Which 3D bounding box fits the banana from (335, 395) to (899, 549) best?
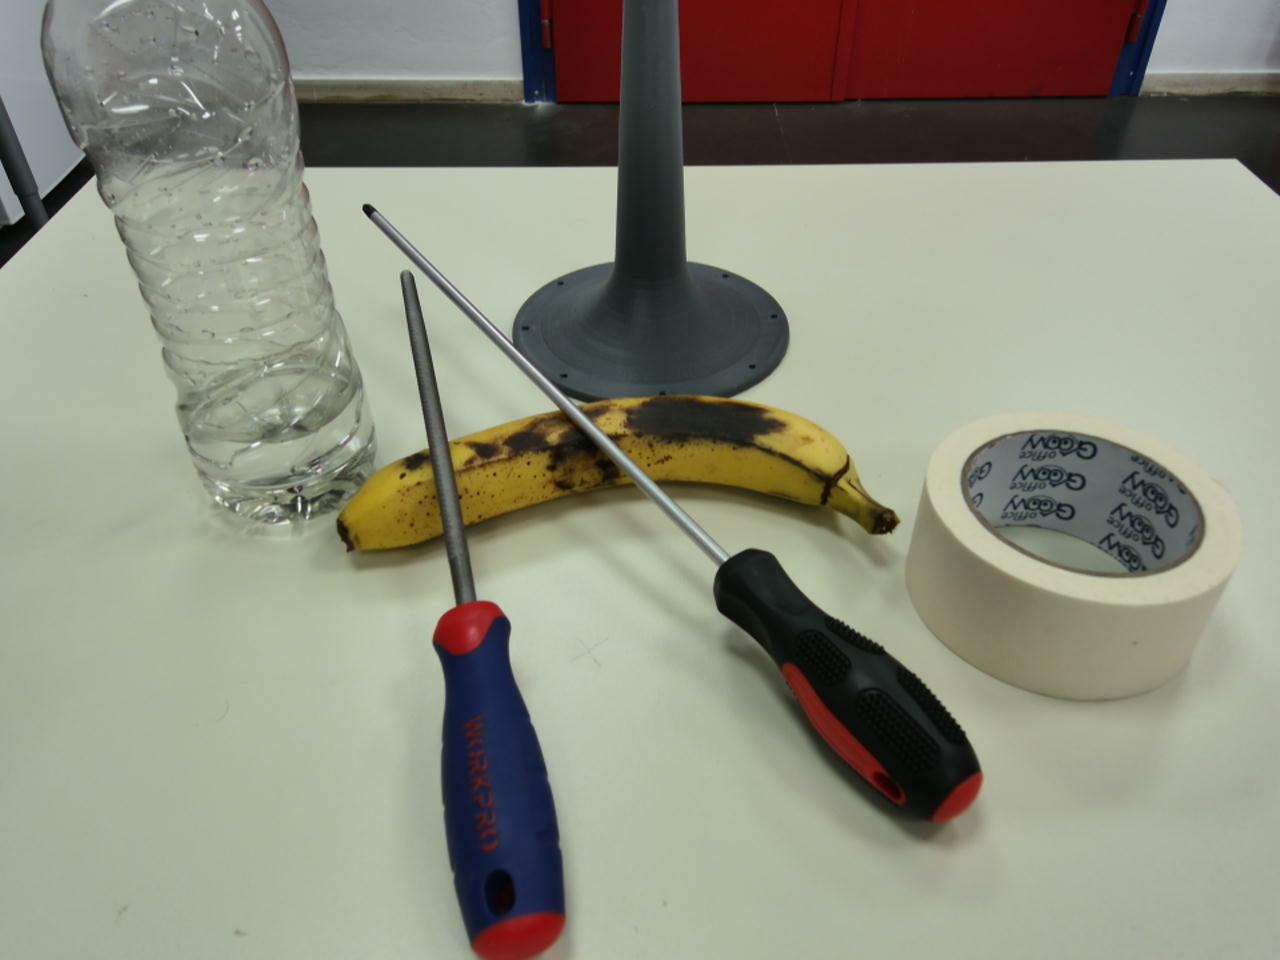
[{"bbox_3d":[-0.010,-0.006,0.424,0.222,0.037,0.084,0,38,0],"label":"banana"}]
